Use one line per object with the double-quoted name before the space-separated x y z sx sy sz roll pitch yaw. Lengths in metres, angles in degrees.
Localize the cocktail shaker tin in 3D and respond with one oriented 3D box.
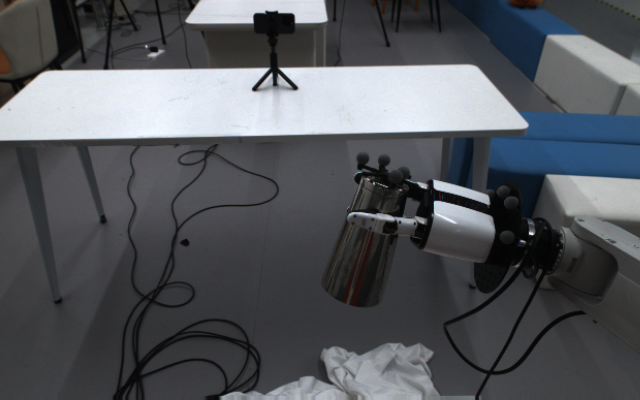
"cocktail shaker tin" 0.069 0.049 0.678 0.093 0.170 0.093 14 19 -5
